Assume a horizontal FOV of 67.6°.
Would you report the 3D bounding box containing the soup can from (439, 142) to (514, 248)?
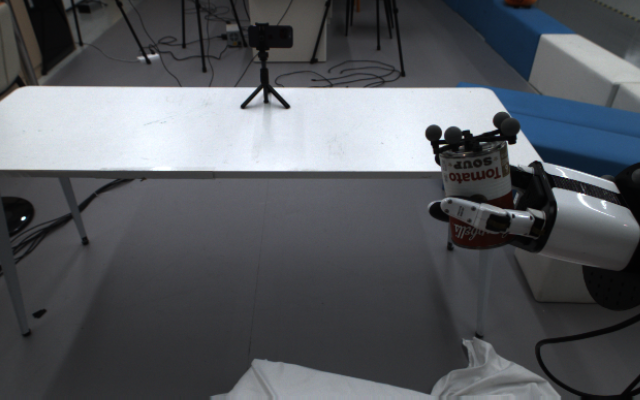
[{"bbox_3d":[0.167,-0.010,0.507,0.067,0.101,0.067,-12,17,4],"label":"soup can"}]
